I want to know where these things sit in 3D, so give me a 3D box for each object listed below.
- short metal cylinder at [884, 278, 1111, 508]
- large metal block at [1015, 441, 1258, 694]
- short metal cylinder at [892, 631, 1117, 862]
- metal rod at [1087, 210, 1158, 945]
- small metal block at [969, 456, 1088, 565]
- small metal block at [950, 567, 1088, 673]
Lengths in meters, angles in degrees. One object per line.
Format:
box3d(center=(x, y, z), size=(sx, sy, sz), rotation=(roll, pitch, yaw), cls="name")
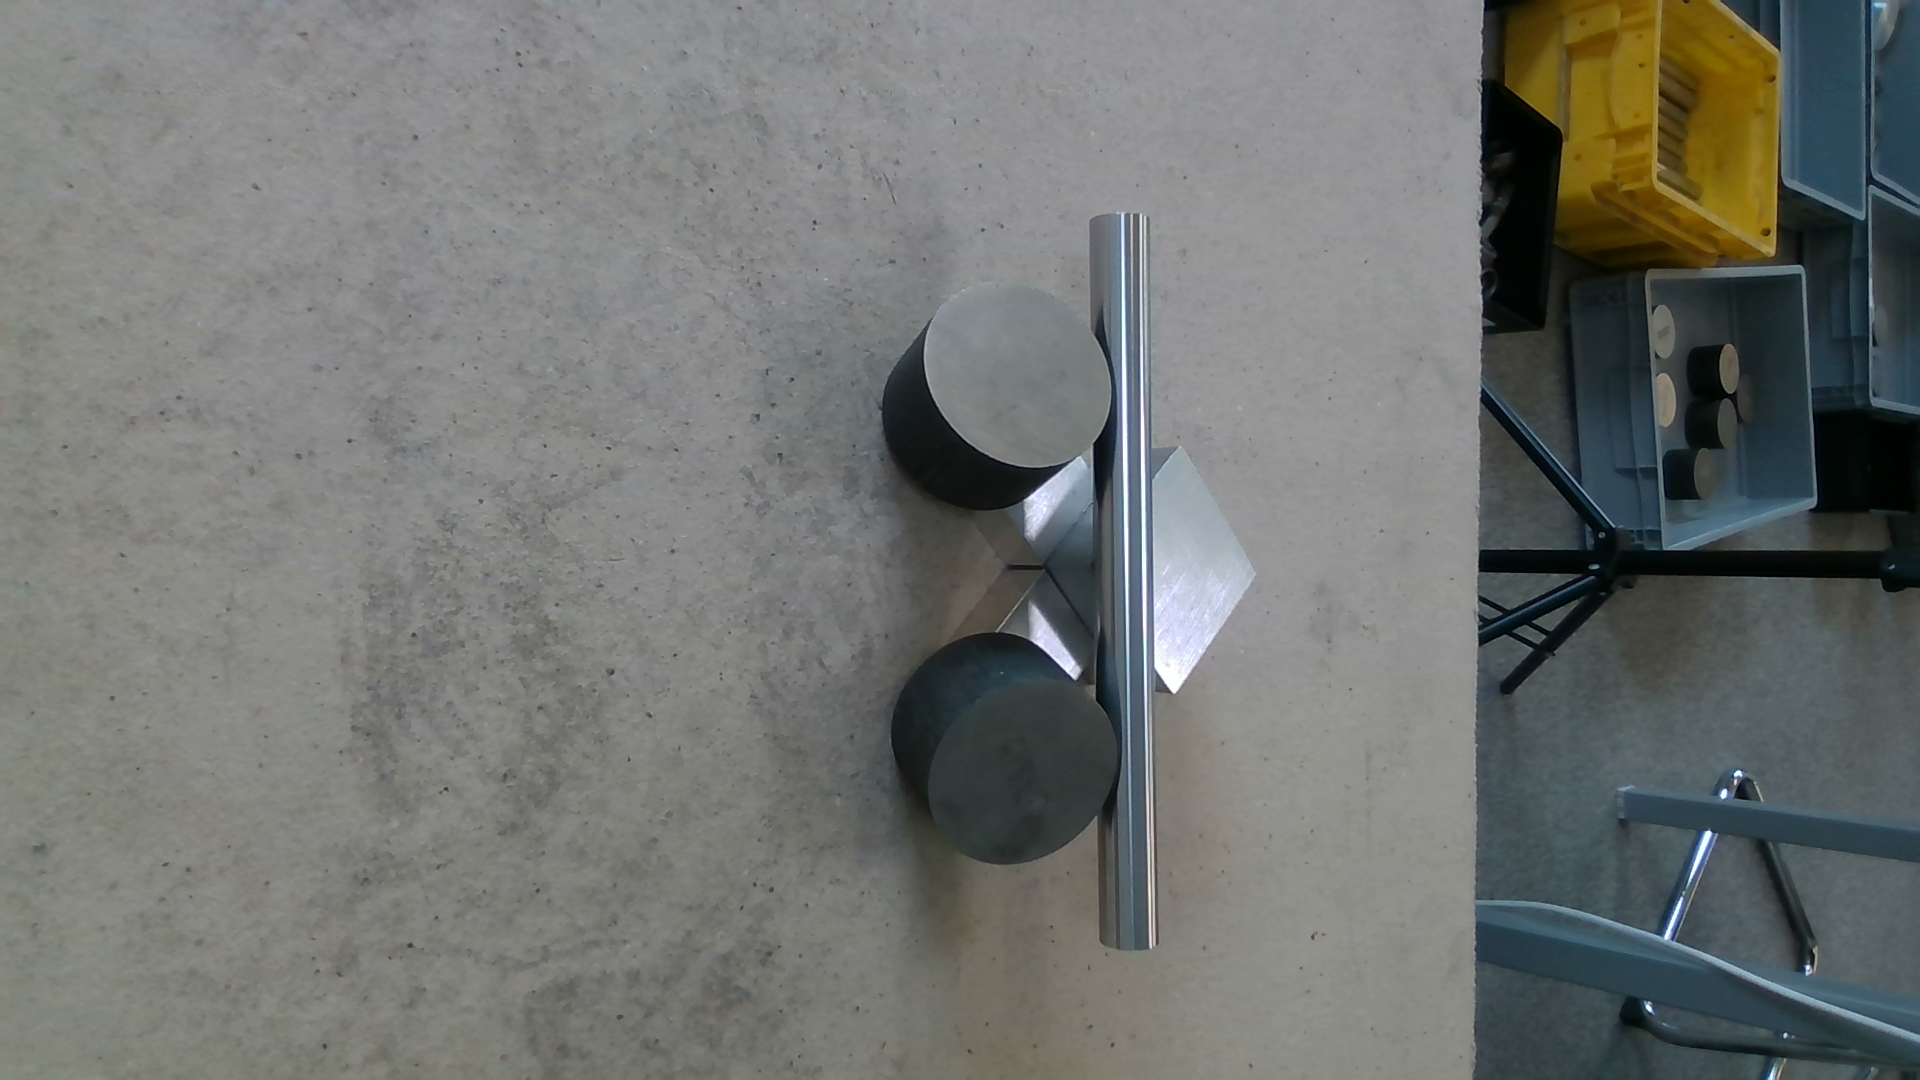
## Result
box3d(center=(0.014, -0.059, 0.560), size=(0.080, 0.050, 0.080), rotation=(8, 69, -20), cls="short metal cylinder")
box3d(center=(0.082, 0.012, 0.634), size=(0.080, 0.050, 0.080), rotation=(-50, 120, -28), cls="large metal block")
box3d(center=(0.017, 0.084, 0.564), size=(0.080, 0.050, 0.080), rotation=(-7, 110, -19), cls="short metal cylinder")
box3d(center=(0.068, 0.016, 0.574), size=(0.025, 0.025, 0.300), rotation=(-2, 92, -40), cls="metal rod")
box3d(center=(0.029, -0.025, 0.608), size=(0.050, 0.025, 0.050), rotation=(-51, 121, -28), cls="small metal block")
box3d(center=(0.028, 0.047, 0.607), size=(0.050, 0.025, 0.050), rotation=(-51, 120, -28), cls="small metal block")
